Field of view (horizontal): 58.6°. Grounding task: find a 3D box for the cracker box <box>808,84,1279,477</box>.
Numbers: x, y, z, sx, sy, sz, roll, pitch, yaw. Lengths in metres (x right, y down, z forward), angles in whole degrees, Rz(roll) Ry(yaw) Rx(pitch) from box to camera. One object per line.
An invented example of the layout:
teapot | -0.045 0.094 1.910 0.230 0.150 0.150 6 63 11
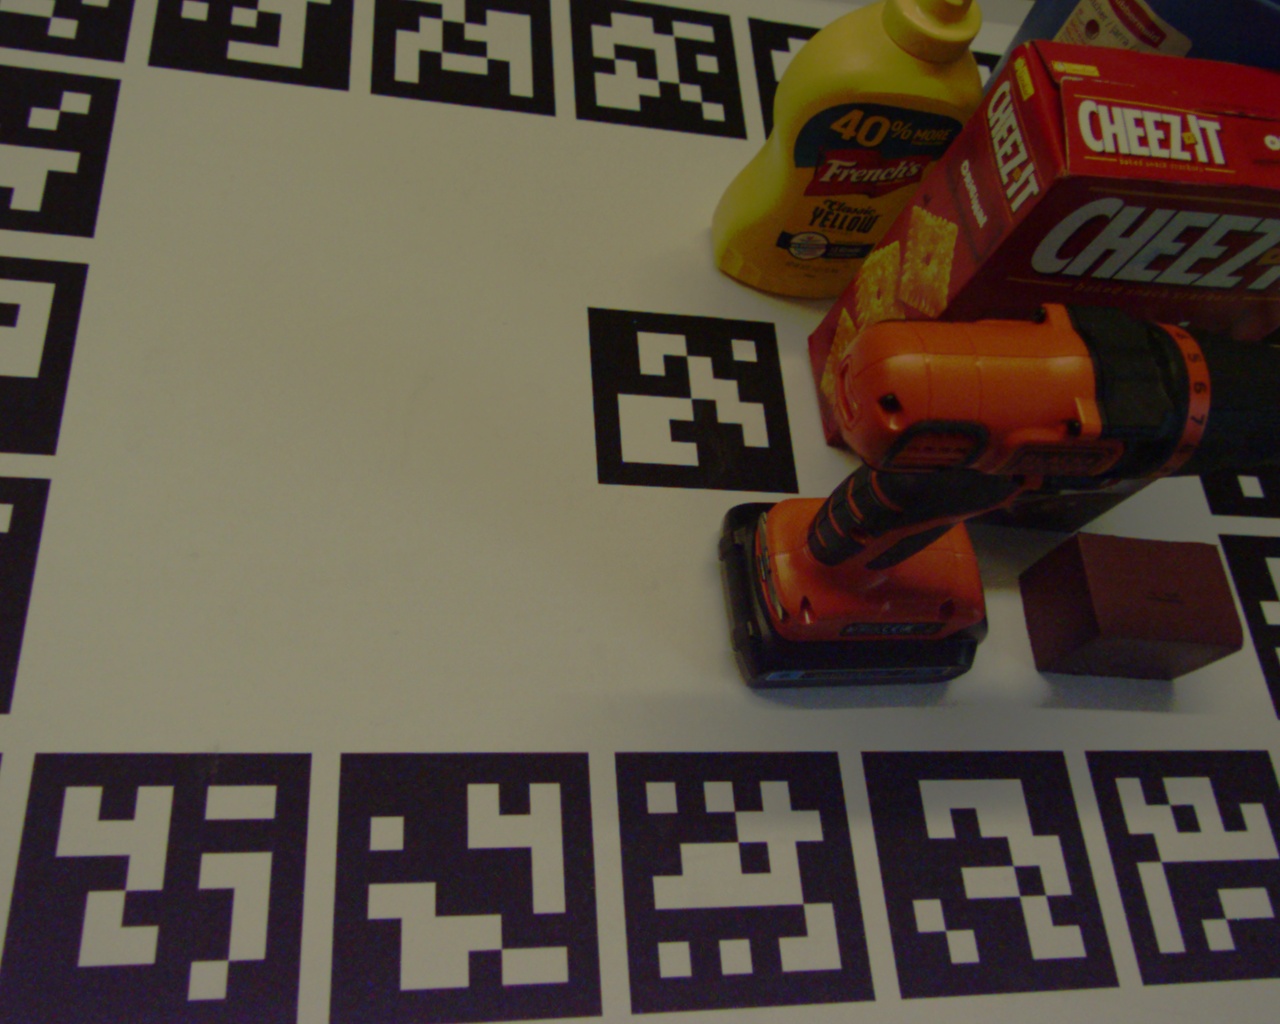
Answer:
cracker box | 0.194 -0.094 0.540 0.163 0.214 0.072 -1 64 -13

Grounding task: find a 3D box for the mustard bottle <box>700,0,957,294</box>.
mustard bottle | 0.101 -0.186 0.567 0.096 0.192 0.058 14 64 -9

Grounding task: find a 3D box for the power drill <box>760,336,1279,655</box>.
power drill | 0.141 -0.001 0.465 0.183 0.187 0.057 0 62 -15

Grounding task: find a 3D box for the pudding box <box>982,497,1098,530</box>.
pudding box | 0.178 -0.027 0.565 0.113 0.090 0.039 1 64 -11

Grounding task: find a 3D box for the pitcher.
pitcher | 0.232 -0.188 0.588 0.188 0.243 0.133 6 64 -10

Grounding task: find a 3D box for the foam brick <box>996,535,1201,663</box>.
foam brick | 0.232 0.046 0.581 0.077 0.051 0.053 3 67 -13
